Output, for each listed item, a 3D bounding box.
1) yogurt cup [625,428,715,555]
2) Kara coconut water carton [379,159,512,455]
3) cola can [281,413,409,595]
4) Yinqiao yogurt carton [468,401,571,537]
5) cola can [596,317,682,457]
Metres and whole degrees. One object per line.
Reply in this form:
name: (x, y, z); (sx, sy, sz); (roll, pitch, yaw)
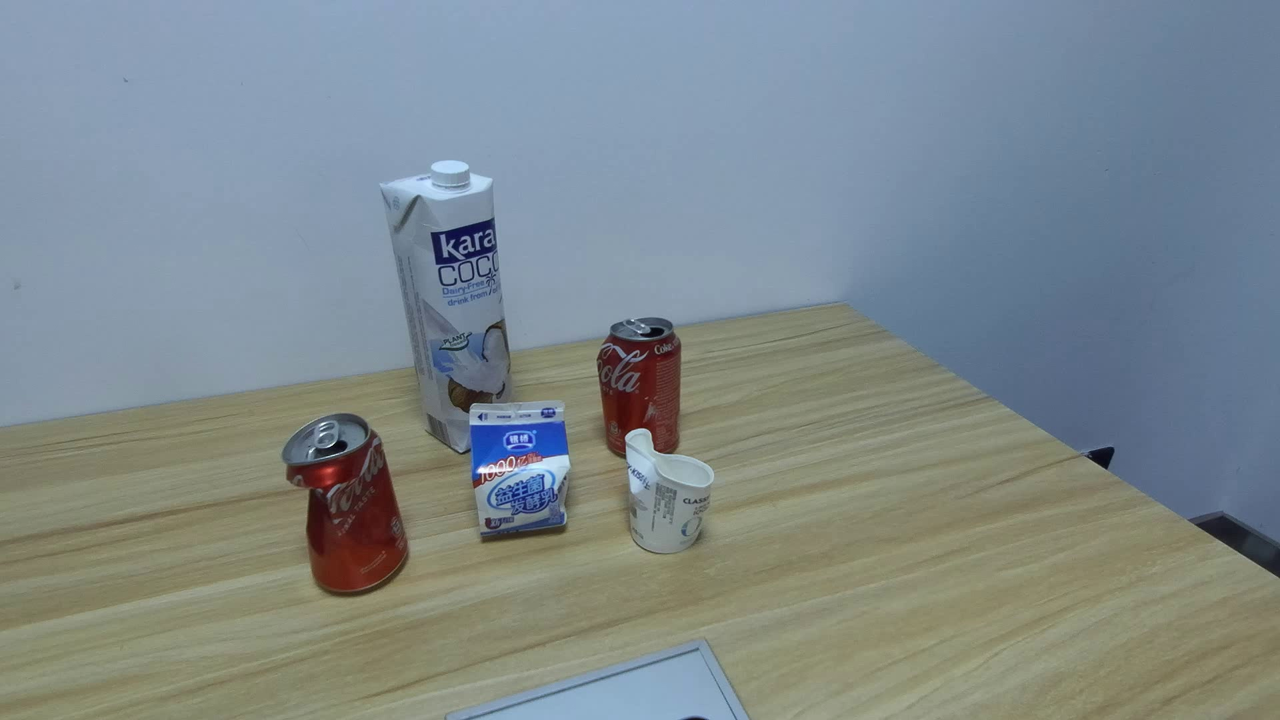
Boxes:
yogurt cup: (0.020, 0.097, 0.520); (0.075, 0.071, 0.054); (12, 30, 21)
Kara coconut water carton: (-0.160, -0.046, 0.612); (0.075, 0.245, 0.077); (23, 35, 39)
cola can: (-0.199, 0.097, 0.481); (0.065, 0.112, 0.069); (9, 28, 20)
Yinqiao yogurt carton: (-0.089, 0.075, 0.540); (0.074, 0.097, 0.080); (-5, 22, -10)
cola can: (0.002, 0.025, 0.616); (0.072, 0.117, 0.065); (-9, 29, -17)
